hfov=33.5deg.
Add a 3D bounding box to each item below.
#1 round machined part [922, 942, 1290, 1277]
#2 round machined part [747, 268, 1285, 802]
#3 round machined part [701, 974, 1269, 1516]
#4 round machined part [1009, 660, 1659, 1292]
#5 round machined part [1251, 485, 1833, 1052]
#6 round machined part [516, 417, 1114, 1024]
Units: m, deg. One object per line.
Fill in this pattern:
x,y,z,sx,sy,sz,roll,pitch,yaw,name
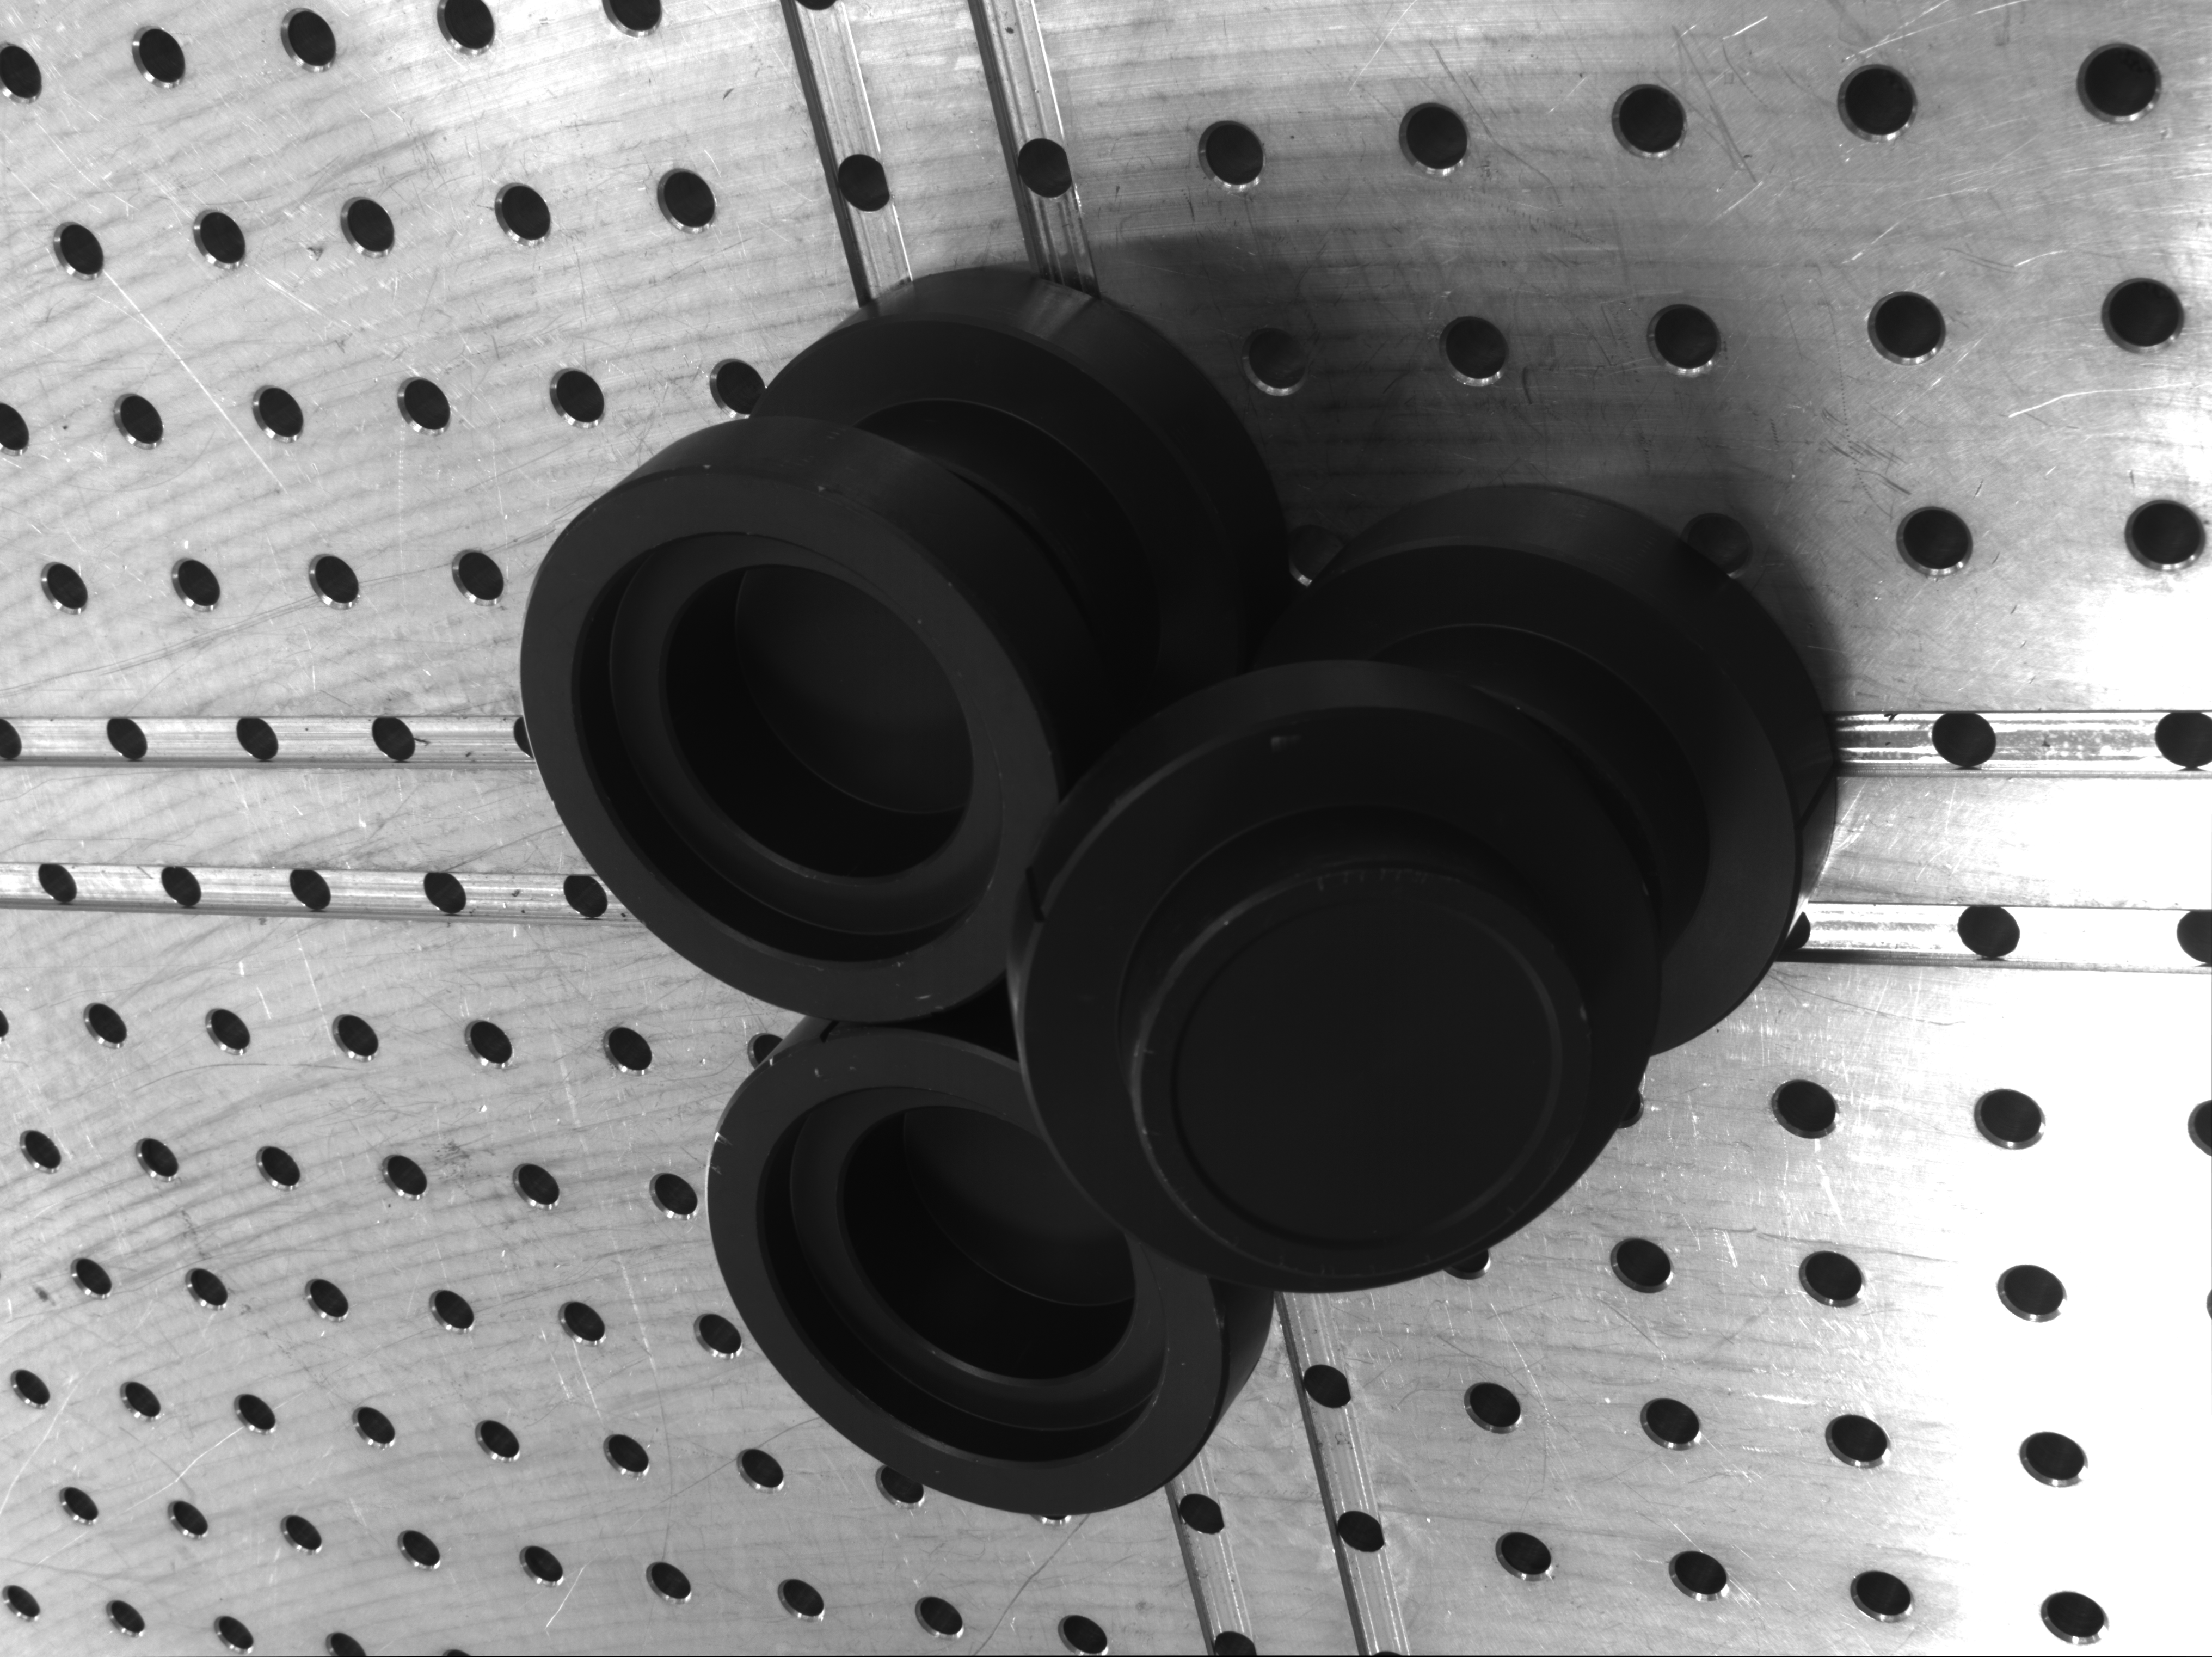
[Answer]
0.001,0.045,0.663,0.098,0.042,0.098,13,124,21,round machined part
-0.023,-0.042,0.623,0.098,0.042,0.098,13,124,21,round machined part
-0.017,0.066,0.630,0.098,0.042,0.098,13,124,21,round machined part
0.035,0.028,0.551,0.098,0.042,0.098,-3,113,-6,round machined part
0.065,-0.003,0.599,0.098,0.042,0.098,13,124,21,round machined part
-0.042,-0.021,0.590,0.098,0.042,0.098,13,124,21,round machined part
